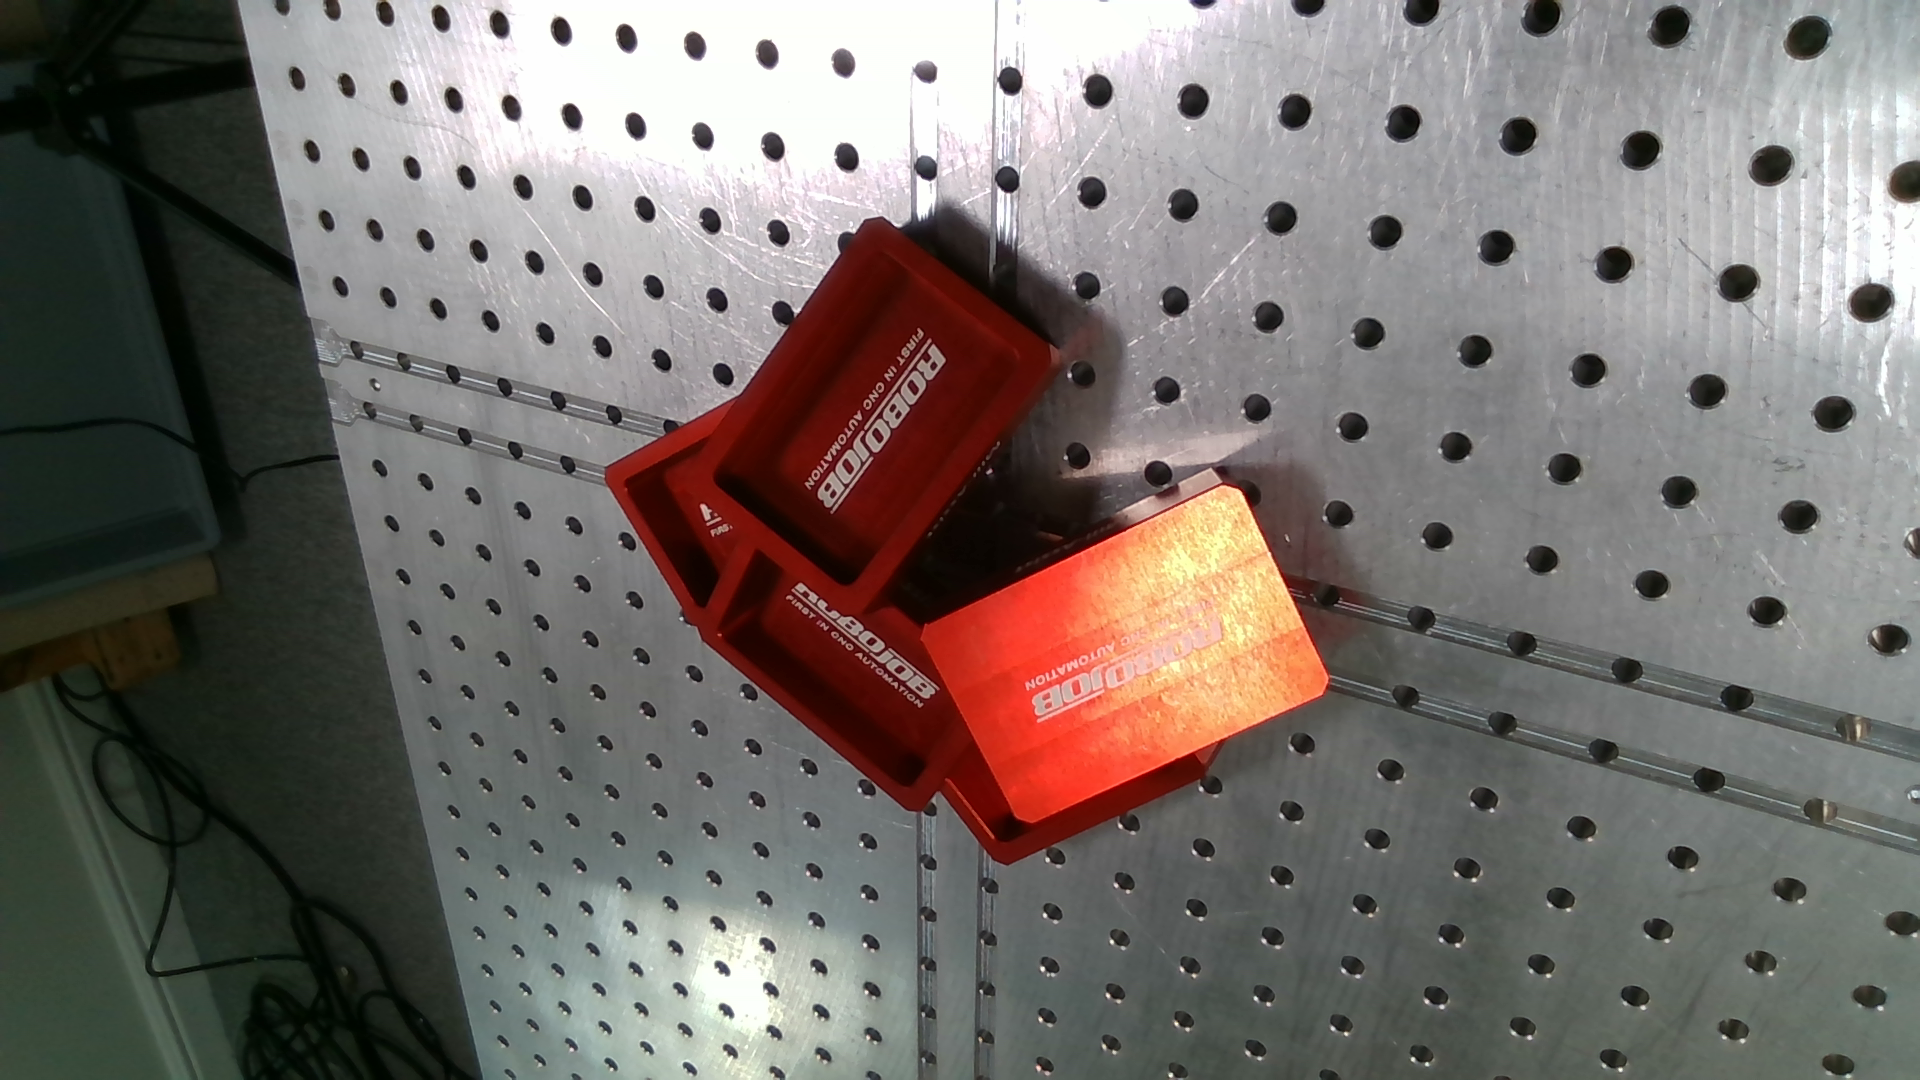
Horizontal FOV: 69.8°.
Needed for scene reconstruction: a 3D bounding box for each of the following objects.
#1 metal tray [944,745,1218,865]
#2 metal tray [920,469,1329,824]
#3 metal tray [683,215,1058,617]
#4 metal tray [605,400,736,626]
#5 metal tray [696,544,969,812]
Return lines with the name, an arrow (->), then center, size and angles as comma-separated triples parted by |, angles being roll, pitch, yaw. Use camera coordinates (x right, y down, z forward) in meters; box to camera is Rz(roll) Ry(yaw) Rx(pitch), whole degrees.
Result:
metal tray -> 0.039, 0.081, 0.600 | 0.130, 0.030, 0.090 | -35, 94, 39
metal tray -> 0.061, 0.041, 0.525 | 0.130, 0.030, 0.090 | -26, 102, 8
metal tray -> -0.034, -0.047, 0.536 | 0.090, 0.030, 0.130 | 38, 99, 8
metal tray -> -0.094, -0.019, 0.627 | 0.130, 0.030, 0.090 | -21, 103, 38
metal tray -> -0.044, 0.046, 0.593 | 0.130, 0.030, 0.090 | 38, 129, 8
